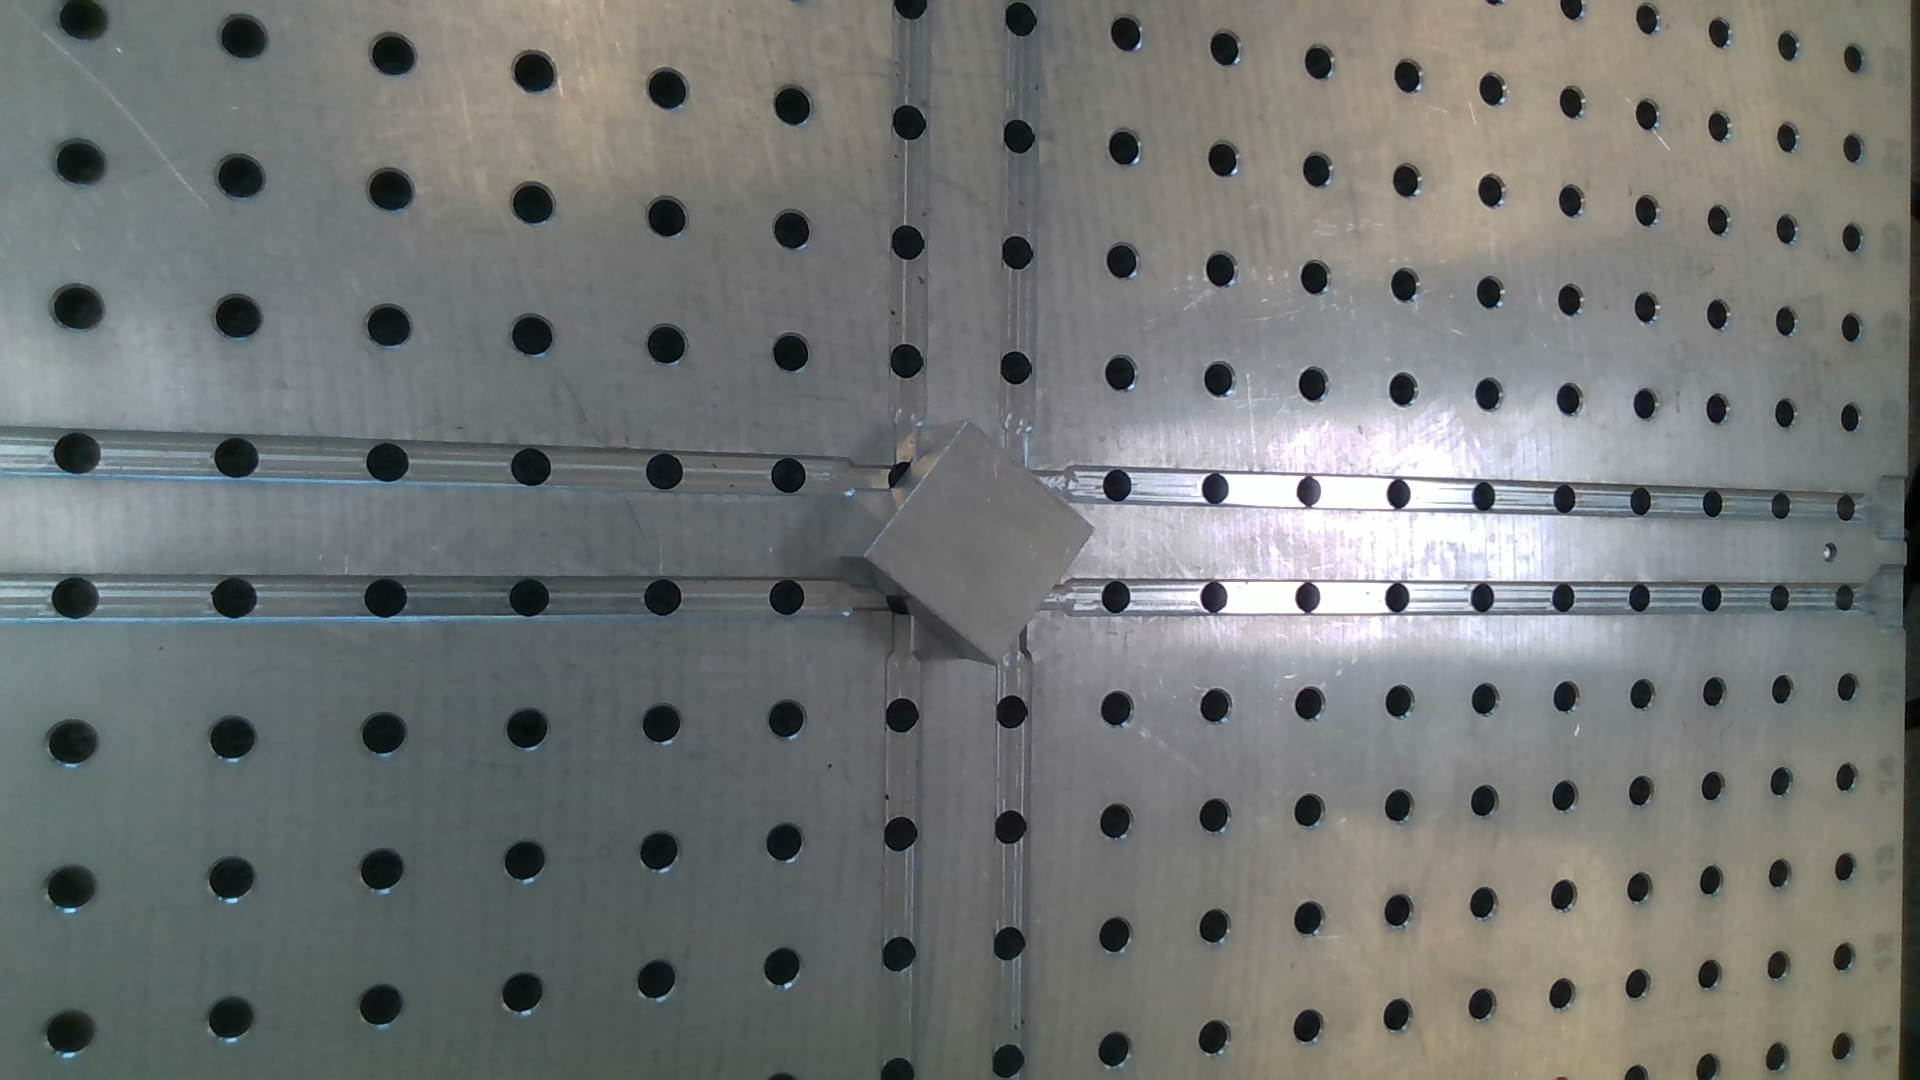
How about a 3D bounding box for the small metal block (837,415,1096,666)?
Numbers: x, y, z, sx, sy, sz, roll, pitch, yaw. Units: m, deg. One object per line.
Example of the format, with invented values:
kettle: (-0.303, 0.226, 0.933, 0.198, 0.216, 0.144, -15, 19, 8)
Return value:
small metal block: (0.002, 0.000, 0.397, 0.050, 0.025, 0.050, 40, 78, -16)
